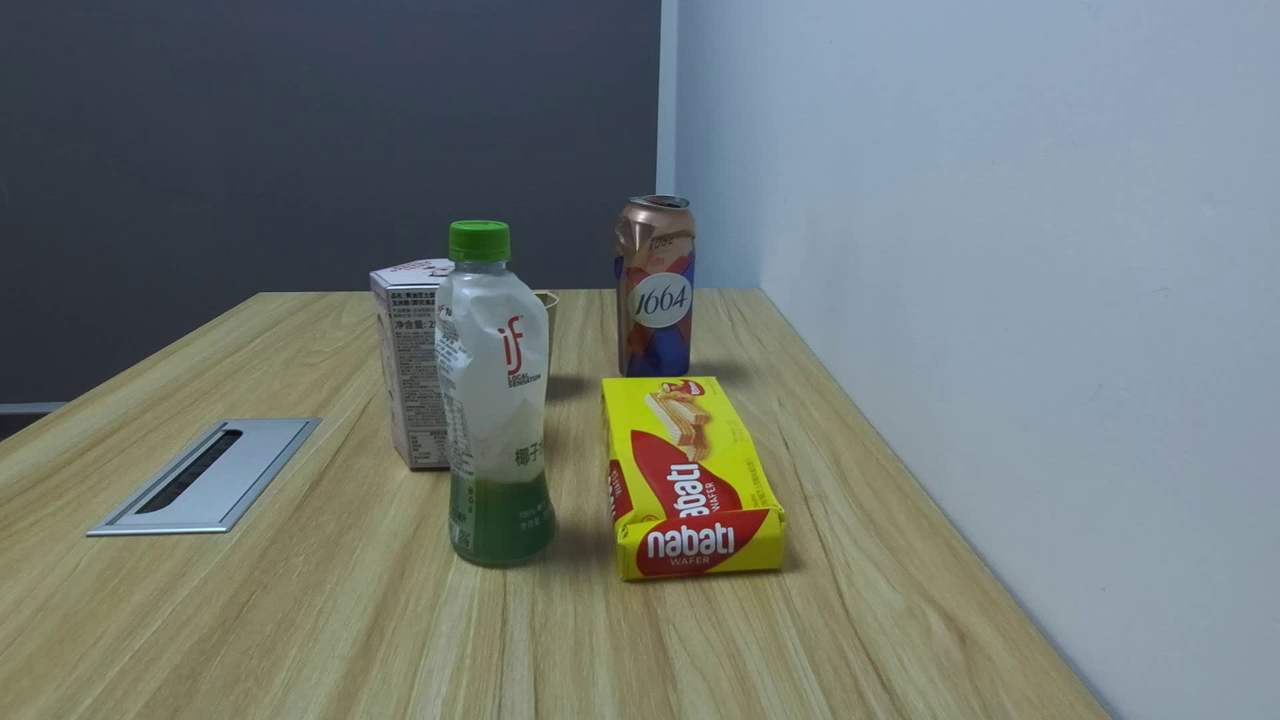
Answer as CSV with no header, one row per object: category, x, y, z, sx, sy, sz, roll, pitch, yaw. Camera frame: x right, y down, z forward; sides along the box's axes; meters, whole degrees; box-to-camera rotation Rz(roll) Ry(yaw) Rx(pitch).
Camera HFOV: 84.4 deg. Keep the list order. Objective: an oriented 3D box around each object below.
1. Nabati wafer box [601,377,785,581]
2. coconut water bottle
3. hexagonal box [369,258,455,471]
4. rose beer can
Nabati wafer box,0.026,0.066,0.476,0.096,0.042,0.203,0,21,-6
coconut water bottle,-0.082,0.019,0.394,0.067,0.187,0.067,0,20,0
hexagonal box,-0.141,0.001,0.514,0.083,0.136,0.091,13,25,29
rose beer can,0.015,-0.060,0.631,0.076,0.167,0.065,-7,25,-26
